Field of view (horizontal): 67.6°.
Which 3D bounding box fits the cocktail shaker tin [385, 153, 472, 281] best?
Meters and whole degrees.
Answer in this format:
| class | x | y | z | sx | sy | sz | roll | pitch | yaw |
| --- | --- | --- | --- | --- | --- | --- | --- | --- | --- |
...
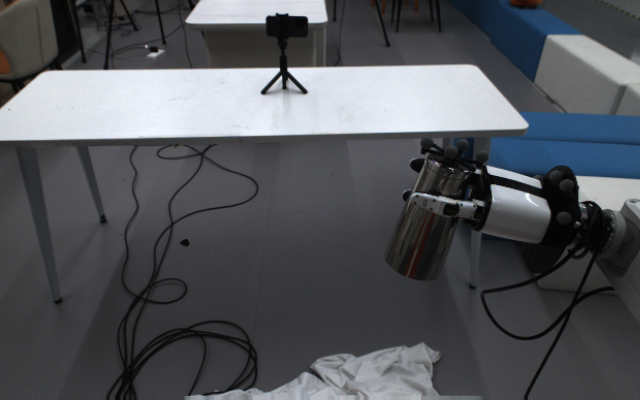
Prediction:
| class | x | y | z | sx | sy | sz | roll | pitch | yaw |
| --- | --- | --- | --- | --- | --- | --- | --- | --- | --- |
| cocktail shaker tin | 0.165 | 0.018 | 0.711 | 0.093 | 0.170 | 0.093 | 12 | 25 | -6 |
